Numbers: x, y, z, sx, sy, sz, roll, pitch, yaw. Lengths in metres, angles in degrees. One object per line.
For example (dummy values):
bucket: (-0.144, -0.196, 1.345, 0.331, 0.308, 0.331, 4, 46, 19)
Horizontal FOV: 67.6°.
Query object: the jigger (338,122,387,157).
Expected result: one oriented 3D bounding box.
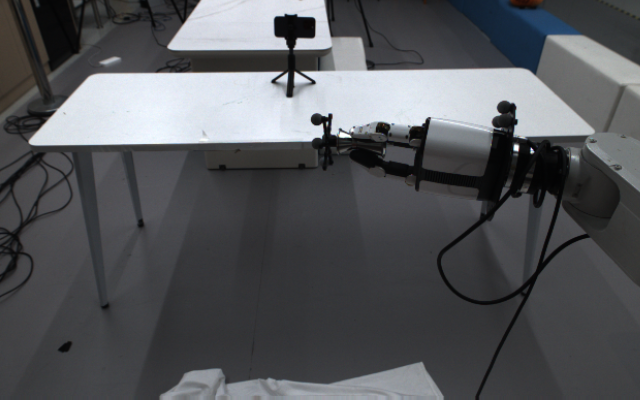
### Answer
jigger: (0.068, -0.088, 0.708, 0.071, 0.043, 0.043, 2, 34, 14)
